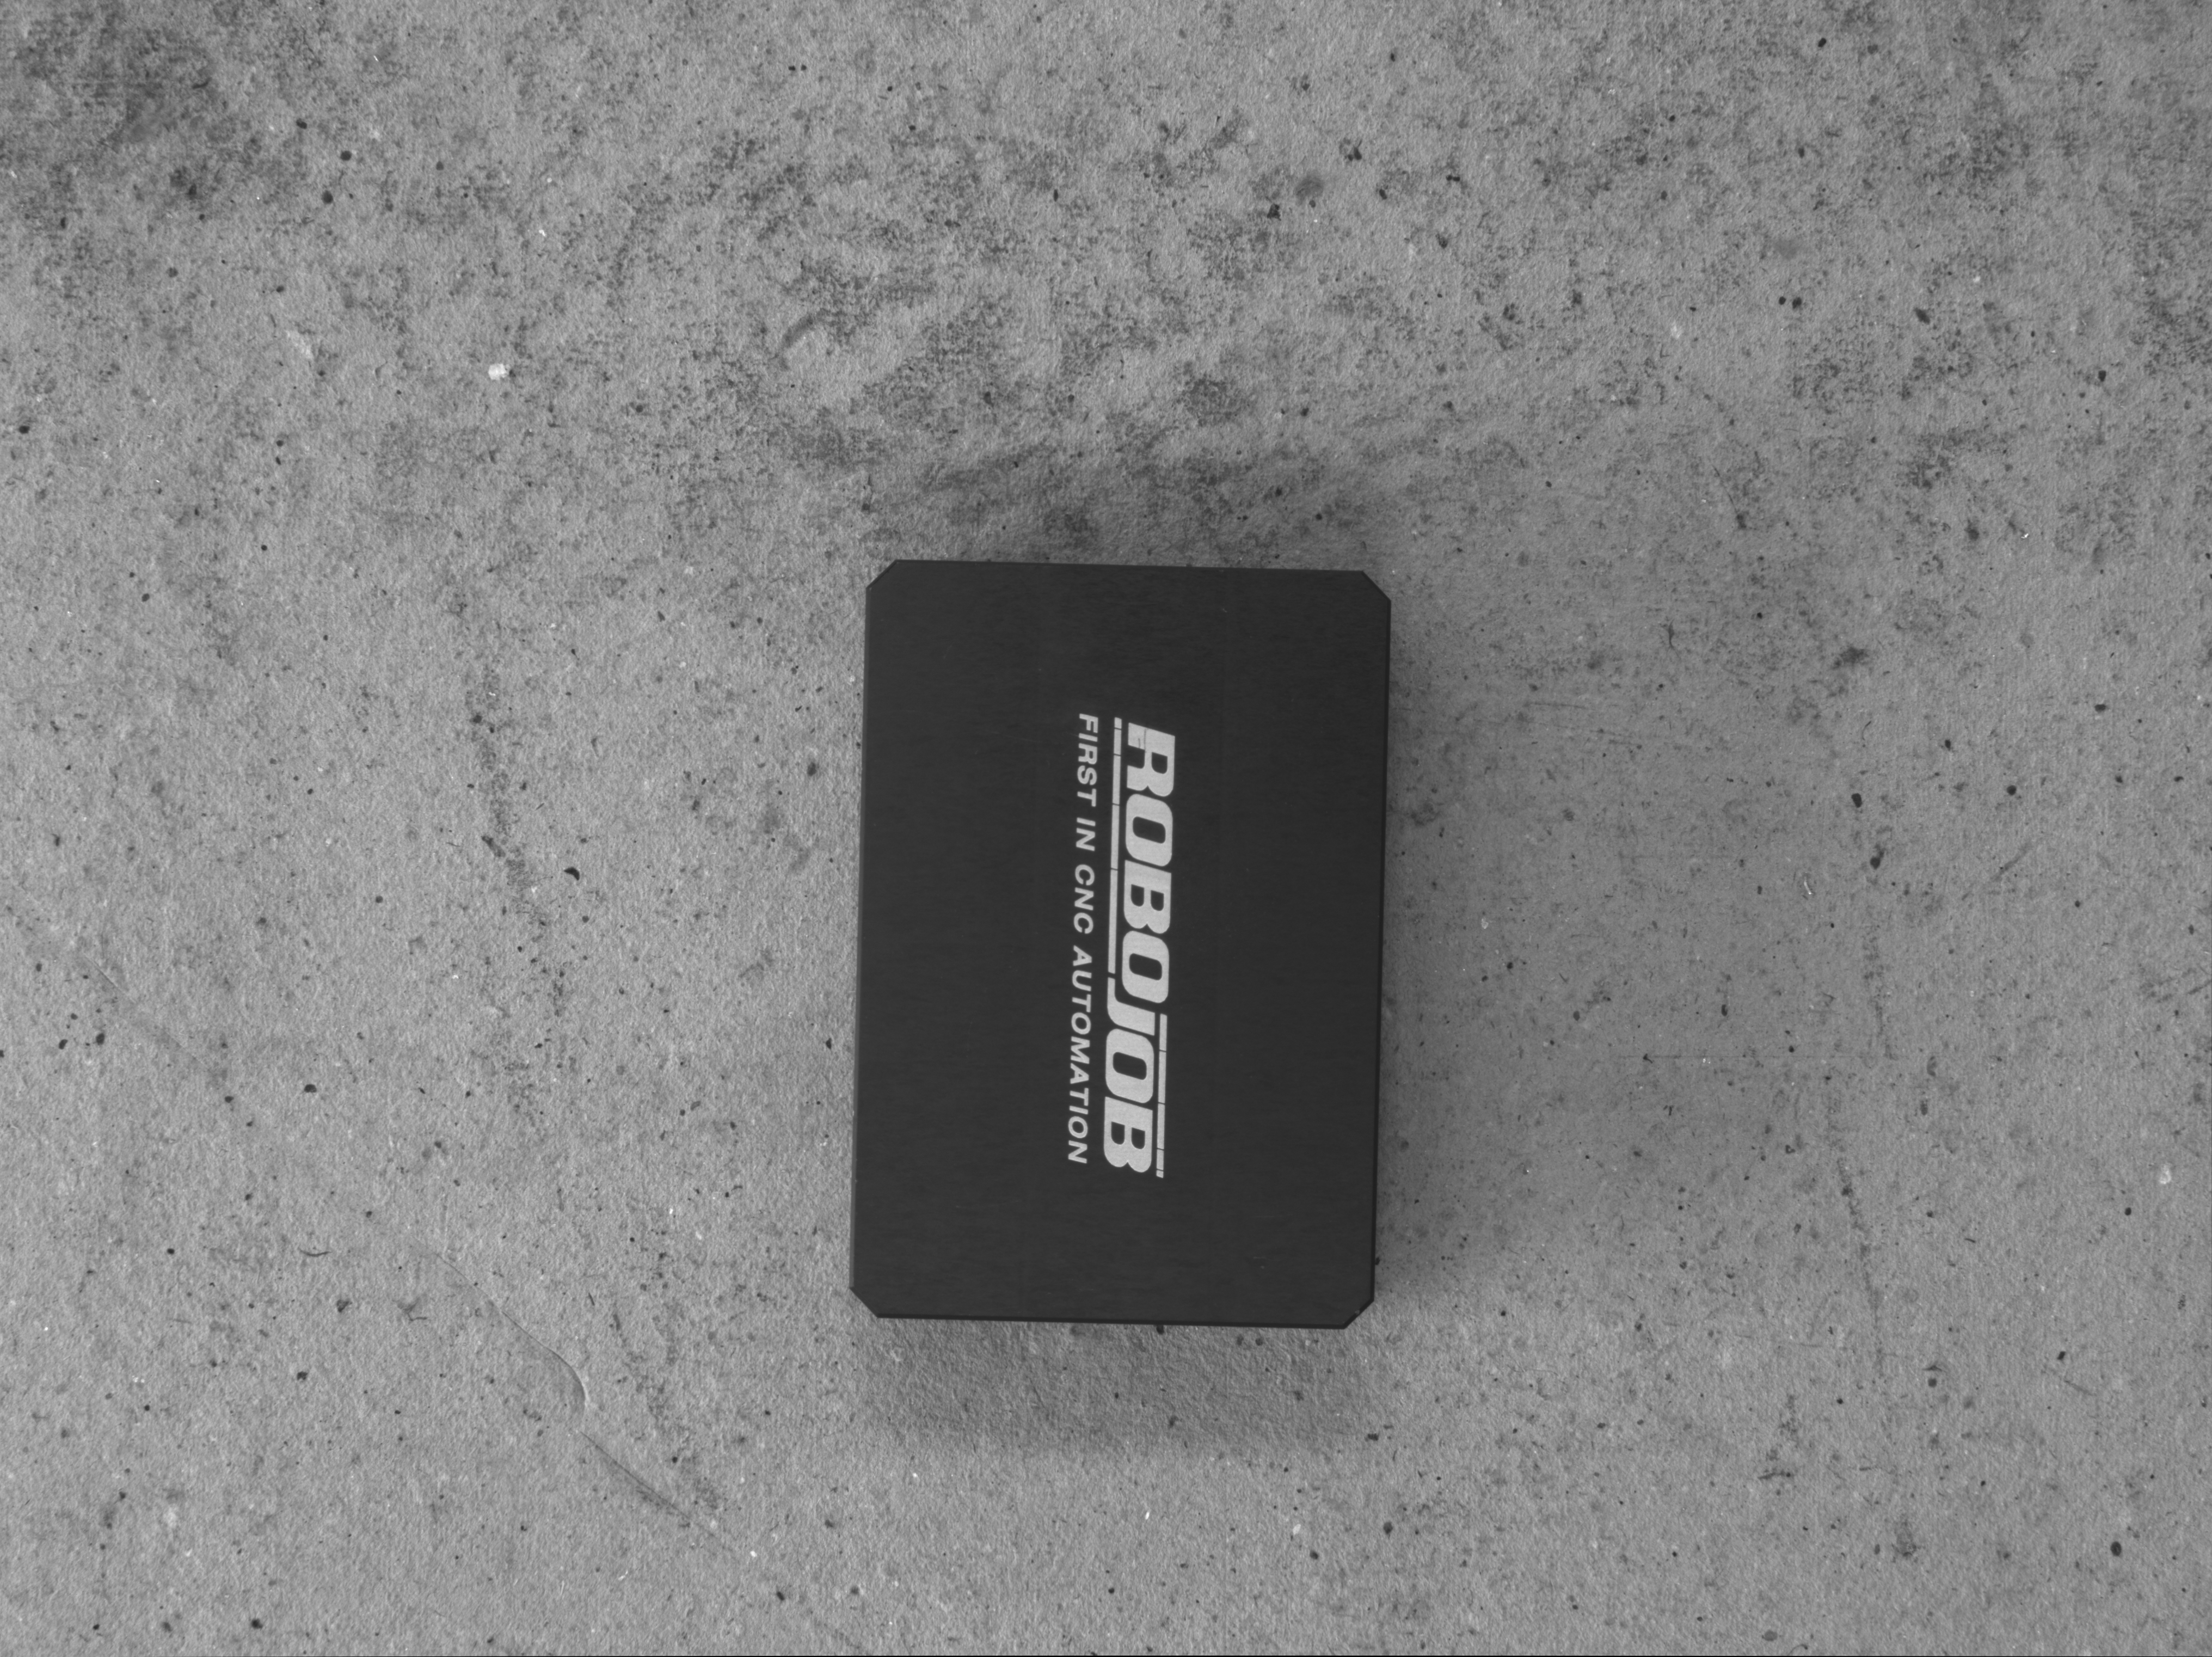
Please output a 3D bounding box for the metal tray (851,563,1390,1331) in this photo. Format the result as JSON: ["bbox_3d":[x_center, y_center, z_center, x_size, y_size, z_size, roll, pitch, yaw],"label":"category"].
[{"bbox_3d":[0.002,0.020,0.643,0.090,0.030,0.130,1,91,0],"label":"metal tray"}]
